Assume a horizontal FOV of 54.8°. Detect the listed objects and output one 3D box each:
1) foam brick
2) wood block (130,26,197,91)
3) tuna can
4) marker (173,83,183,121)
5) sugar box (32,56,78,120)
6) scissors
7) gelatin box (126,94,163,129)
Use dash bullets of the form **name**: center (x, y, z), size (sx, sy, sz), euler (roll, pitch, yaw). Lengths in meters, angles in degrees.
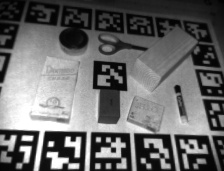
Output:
- **foam brick**: center (-0.009, 0.053, 0.587), size (0.053, 0.051, 0.078), euler (5, 63, -7)
- **wood block**: center (0.165, -0.089, 0.681), size (0.089, 0.091, 0.207), euler (42, 62, 13)
- **tuna can**: center (-0.126, -0.144, 0.679), size (0.086, 0.034, 0.085), euler (5, 63, -8)
- **marker**: center (0.199, 0.046, 0.652), size (0.020, 0.019, 0.120), euler (5, 64, -7)
- **sugar box**: center (-0.150, 0.003, 0.596), size (0.093, 0.045, 0.176), euler (8, 62, -7)
- **scissors**: center (0.044, -0.136, 0.721), size (0.203, 0.016, 0.087), euler (9, 62, -4)
- **gelatin box**: center (0.092, 0.074, 0.613), size (0.089, 0.030, 0.073), euler (20, 62, 0)
